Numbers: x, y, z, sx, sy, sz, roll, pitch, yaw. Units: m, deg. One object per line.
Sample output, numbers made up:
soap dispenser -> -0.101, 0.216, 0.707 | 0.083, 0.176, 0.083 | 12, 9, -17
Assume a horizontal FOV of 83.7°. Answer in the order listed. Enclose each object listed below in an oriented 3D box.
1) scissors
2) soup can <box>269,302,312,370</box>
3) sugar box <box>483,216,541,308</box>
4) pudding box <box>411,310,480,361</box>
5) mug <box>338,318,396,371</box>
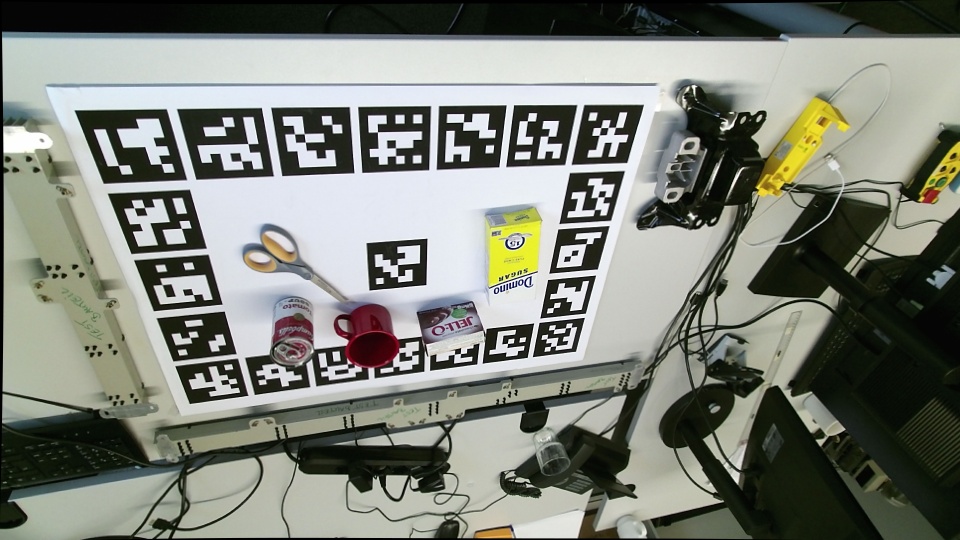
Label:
scissors -> -0.297, 0.010, 0.878 | 0.088, 0.016, 0.203 | -44, 125, 3
soup can -> -0.318, 0.109, 0.898 | 0.068, 0.101, 0.068 | -10, 127, -13
sugar box -> 0.055, -0.007, 0.968 | 0.093, 0.045, 0.176 | -8, 124, -15
pudding box -> -0.064, 0.124, 0.985 | 0.114, 0.089, 0.038 | -13, 120, -9
mug -> -0.210, 0.132, 0.952 | 0.093, 0.081, 0.117 | -35, 128, 5
